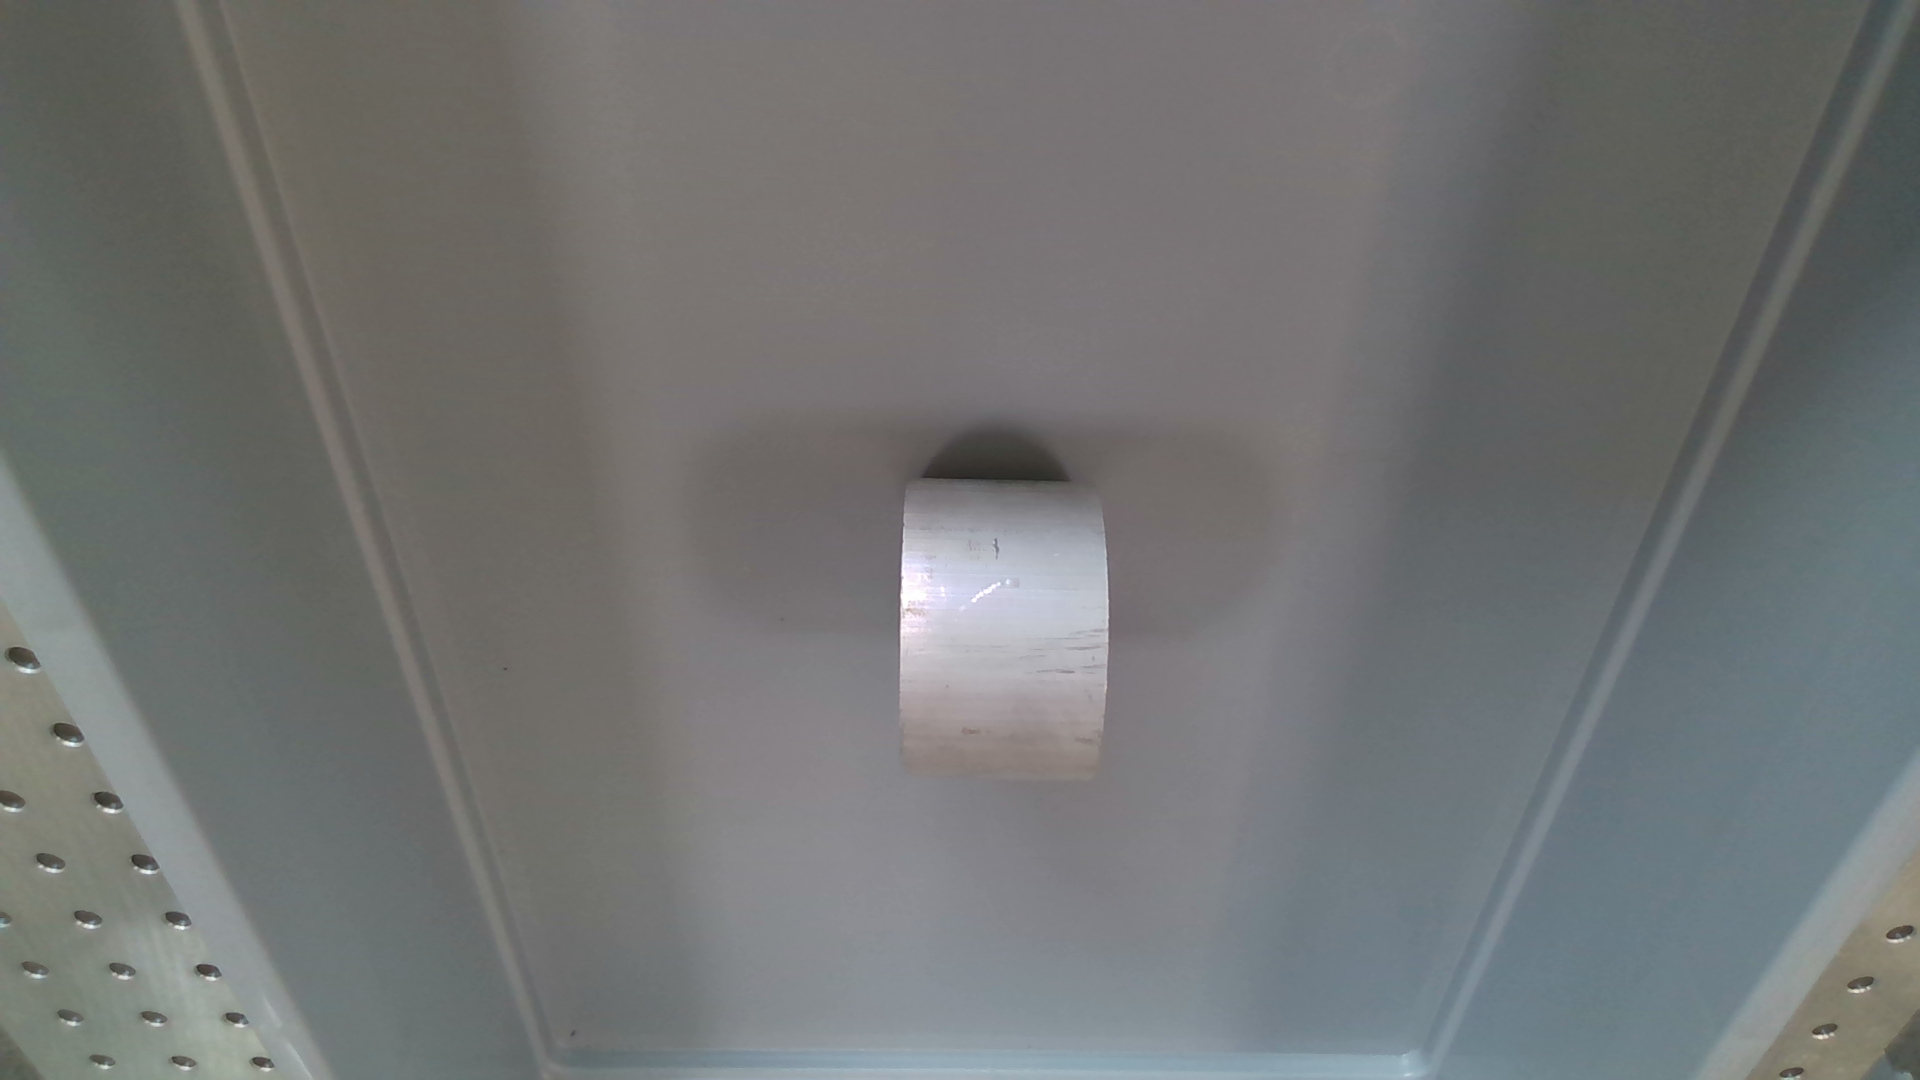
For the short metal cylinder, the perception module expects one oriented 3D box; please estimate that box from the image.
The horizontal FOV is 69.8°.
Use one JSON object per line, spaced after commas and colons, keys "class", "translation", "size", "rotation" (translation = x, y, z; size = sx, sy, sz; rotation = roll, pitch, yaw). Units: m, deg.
{"class": "short metal cylinder", "translation": [0.010, 0.023, 0.368], "size": [0.050, 0.080, 0.080], "rotation": [1, 130, -1]}
